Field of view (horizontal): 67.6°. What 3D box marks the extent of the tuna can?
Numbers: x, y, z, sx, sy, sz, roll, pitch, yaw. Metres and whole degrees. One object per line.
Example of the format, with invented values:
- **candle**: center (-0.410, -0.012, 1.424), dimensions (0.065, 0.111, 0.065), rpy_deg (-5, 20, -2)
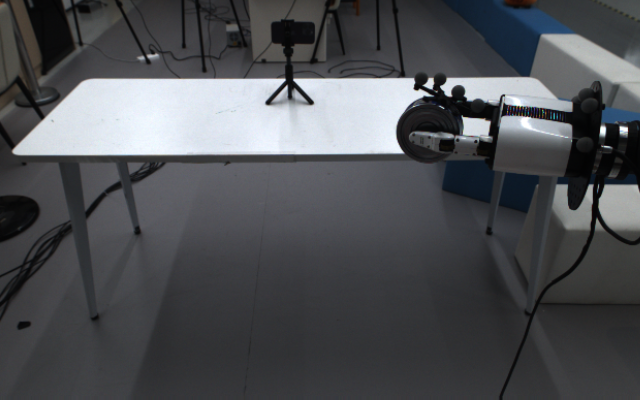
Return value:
- **tuna can**: center (0.149, -0.096, 0.655), dimensions (0.085, 0.085, 0.034), rpy_deg (15, 31, 18)
